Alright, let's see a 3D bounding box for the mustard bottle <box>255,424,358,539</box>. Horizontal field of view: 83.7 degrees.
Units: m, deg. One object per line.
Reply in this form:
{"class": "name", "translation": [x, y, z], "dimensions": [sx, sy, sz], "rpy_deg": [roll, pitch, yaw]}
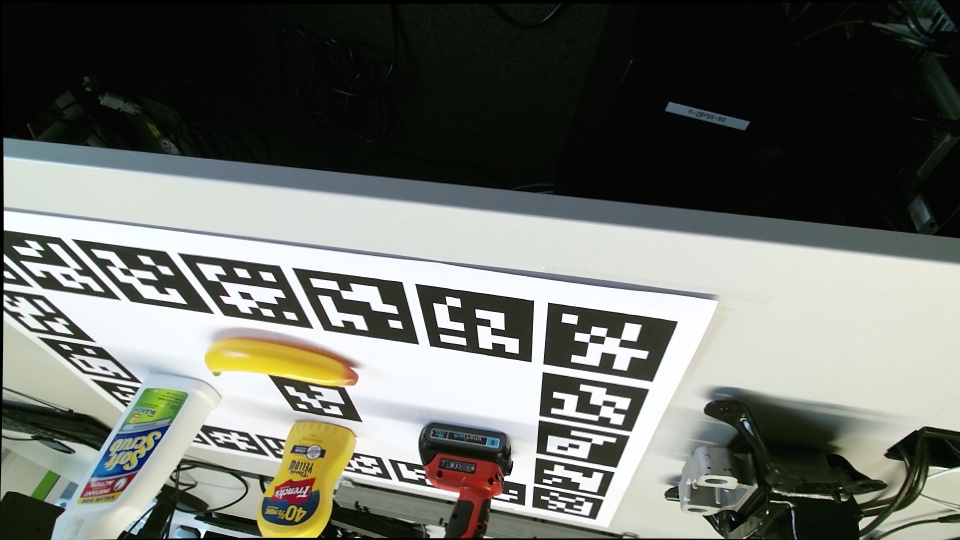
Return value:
{"class": "mustard bottle", "translation": [-0.244, 0.306, 0.719], "dimensions": [0.096, 0.190, 0.058], "rpy_deg": [2, 137, 17]}

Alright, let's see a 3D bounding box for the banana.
{"class": "banana", "translation": [-0.238, 0.115, 0.603], "dimensions": [0.198, 0.038, 0.074], "rpy_deg": [1, 135, 12]}

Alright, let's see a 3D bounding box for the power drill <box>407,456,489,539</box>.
{"class": "power drill", "translation": [-0.067, 0.318, 0.631], "dimensions": [0.185, 0.186, 0.057], "rpy_deg": [0, 137, 12]}

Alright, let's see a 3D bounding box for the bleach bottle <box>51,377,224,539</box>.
{"class": "bleach bottle", "translation": [-0.441, 0.264, 0.684], "dimensions": [0.103, 0.249, 0.068], "rpy_deg": [12, 139, 4]}
